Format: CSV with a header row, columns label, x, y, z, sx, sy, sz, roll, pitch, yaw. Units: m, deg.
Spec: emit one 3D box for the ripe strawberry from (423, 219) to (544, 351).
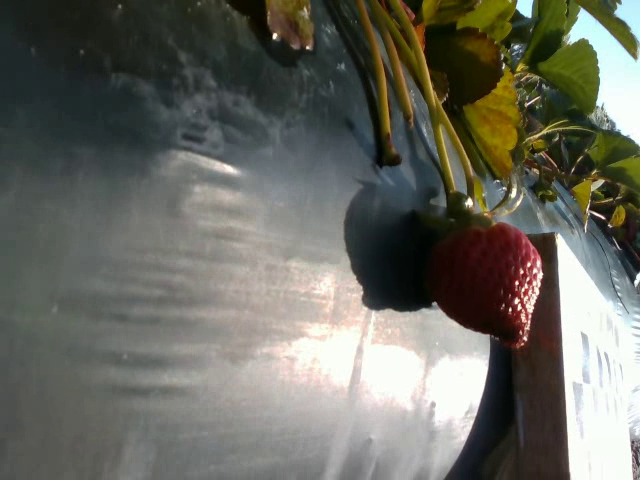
label,x,y,z,sx,sy,sz,roll,pitch,yaw
ripe strawberry,0.051,0.015,0.176,0.036,0.044,0.040,-21,-6,31
